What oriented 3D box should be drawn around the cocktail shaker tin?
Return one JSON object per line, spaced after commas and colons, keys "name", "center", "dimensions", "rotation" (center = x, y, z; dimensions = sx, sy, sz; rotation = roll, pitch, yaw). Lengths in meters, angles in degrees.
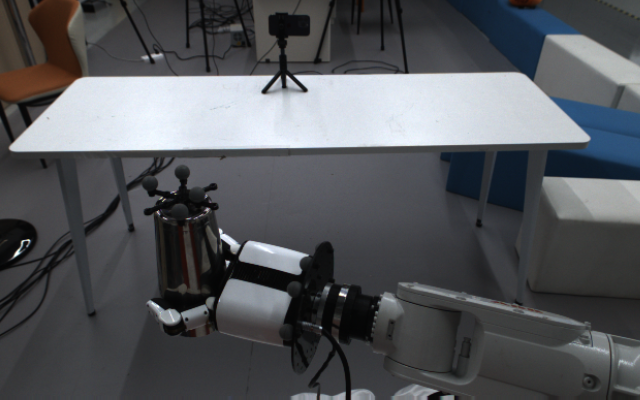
{"name": "cocktail shaker tin", "center": [-0.157, 0.075, 0.592], "dimensions": [0.093, 0.170, 0.093], "rotation": [2, 35, -2]}
